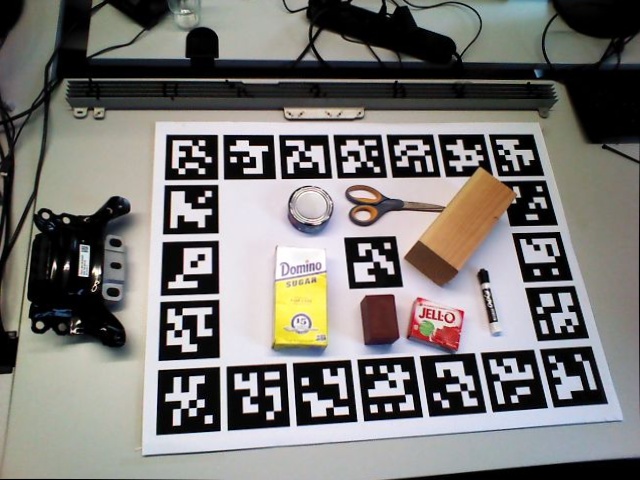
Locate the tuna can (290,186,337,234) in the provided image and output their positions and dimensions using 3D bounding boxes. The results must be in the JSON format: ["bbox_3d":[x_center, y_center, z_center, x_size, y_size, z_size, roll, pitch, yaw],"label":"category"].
[{"bbox_3d":[-0.013,-0.056,0.974,0.086,0.034,0.085,2,70,-6],"label":"tuna can"}]

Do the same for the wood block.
[{"bbox_3d":[0.280,-0.015,0.970,0.090,0.091,0.205,40,69,10],"label":"wood block"}]

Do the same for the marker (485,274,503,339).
[{"bbox_3d":[0.321,0.122,0.956,0.019,0.020,0.120,1,71,-7],"label":"marker"}]

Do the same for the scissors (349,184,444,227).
[{"bbox_3d":[0.157,-0.060,1.010,0.203,0.016,0.087,6,69,-2],"label":"scissors"}]

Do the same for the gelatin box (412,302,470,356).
[{"bbox_3d":[0.215,0.159,0.925,0.089,0.030,0.073,17,69,0],"label":"gelatin box"}]

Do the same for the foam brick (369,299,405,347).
[{"bbox_3d":[0.114,0.145,0.902,0.053,0.051,0.077,1,70,-6],"label":"foam brick"}]

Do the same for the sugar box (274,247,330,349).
[{"bbox_3d":[-0.030,0.101,0.911,0.093,0.045,0.175,4,69,-6],"label":"sugar box"}]
